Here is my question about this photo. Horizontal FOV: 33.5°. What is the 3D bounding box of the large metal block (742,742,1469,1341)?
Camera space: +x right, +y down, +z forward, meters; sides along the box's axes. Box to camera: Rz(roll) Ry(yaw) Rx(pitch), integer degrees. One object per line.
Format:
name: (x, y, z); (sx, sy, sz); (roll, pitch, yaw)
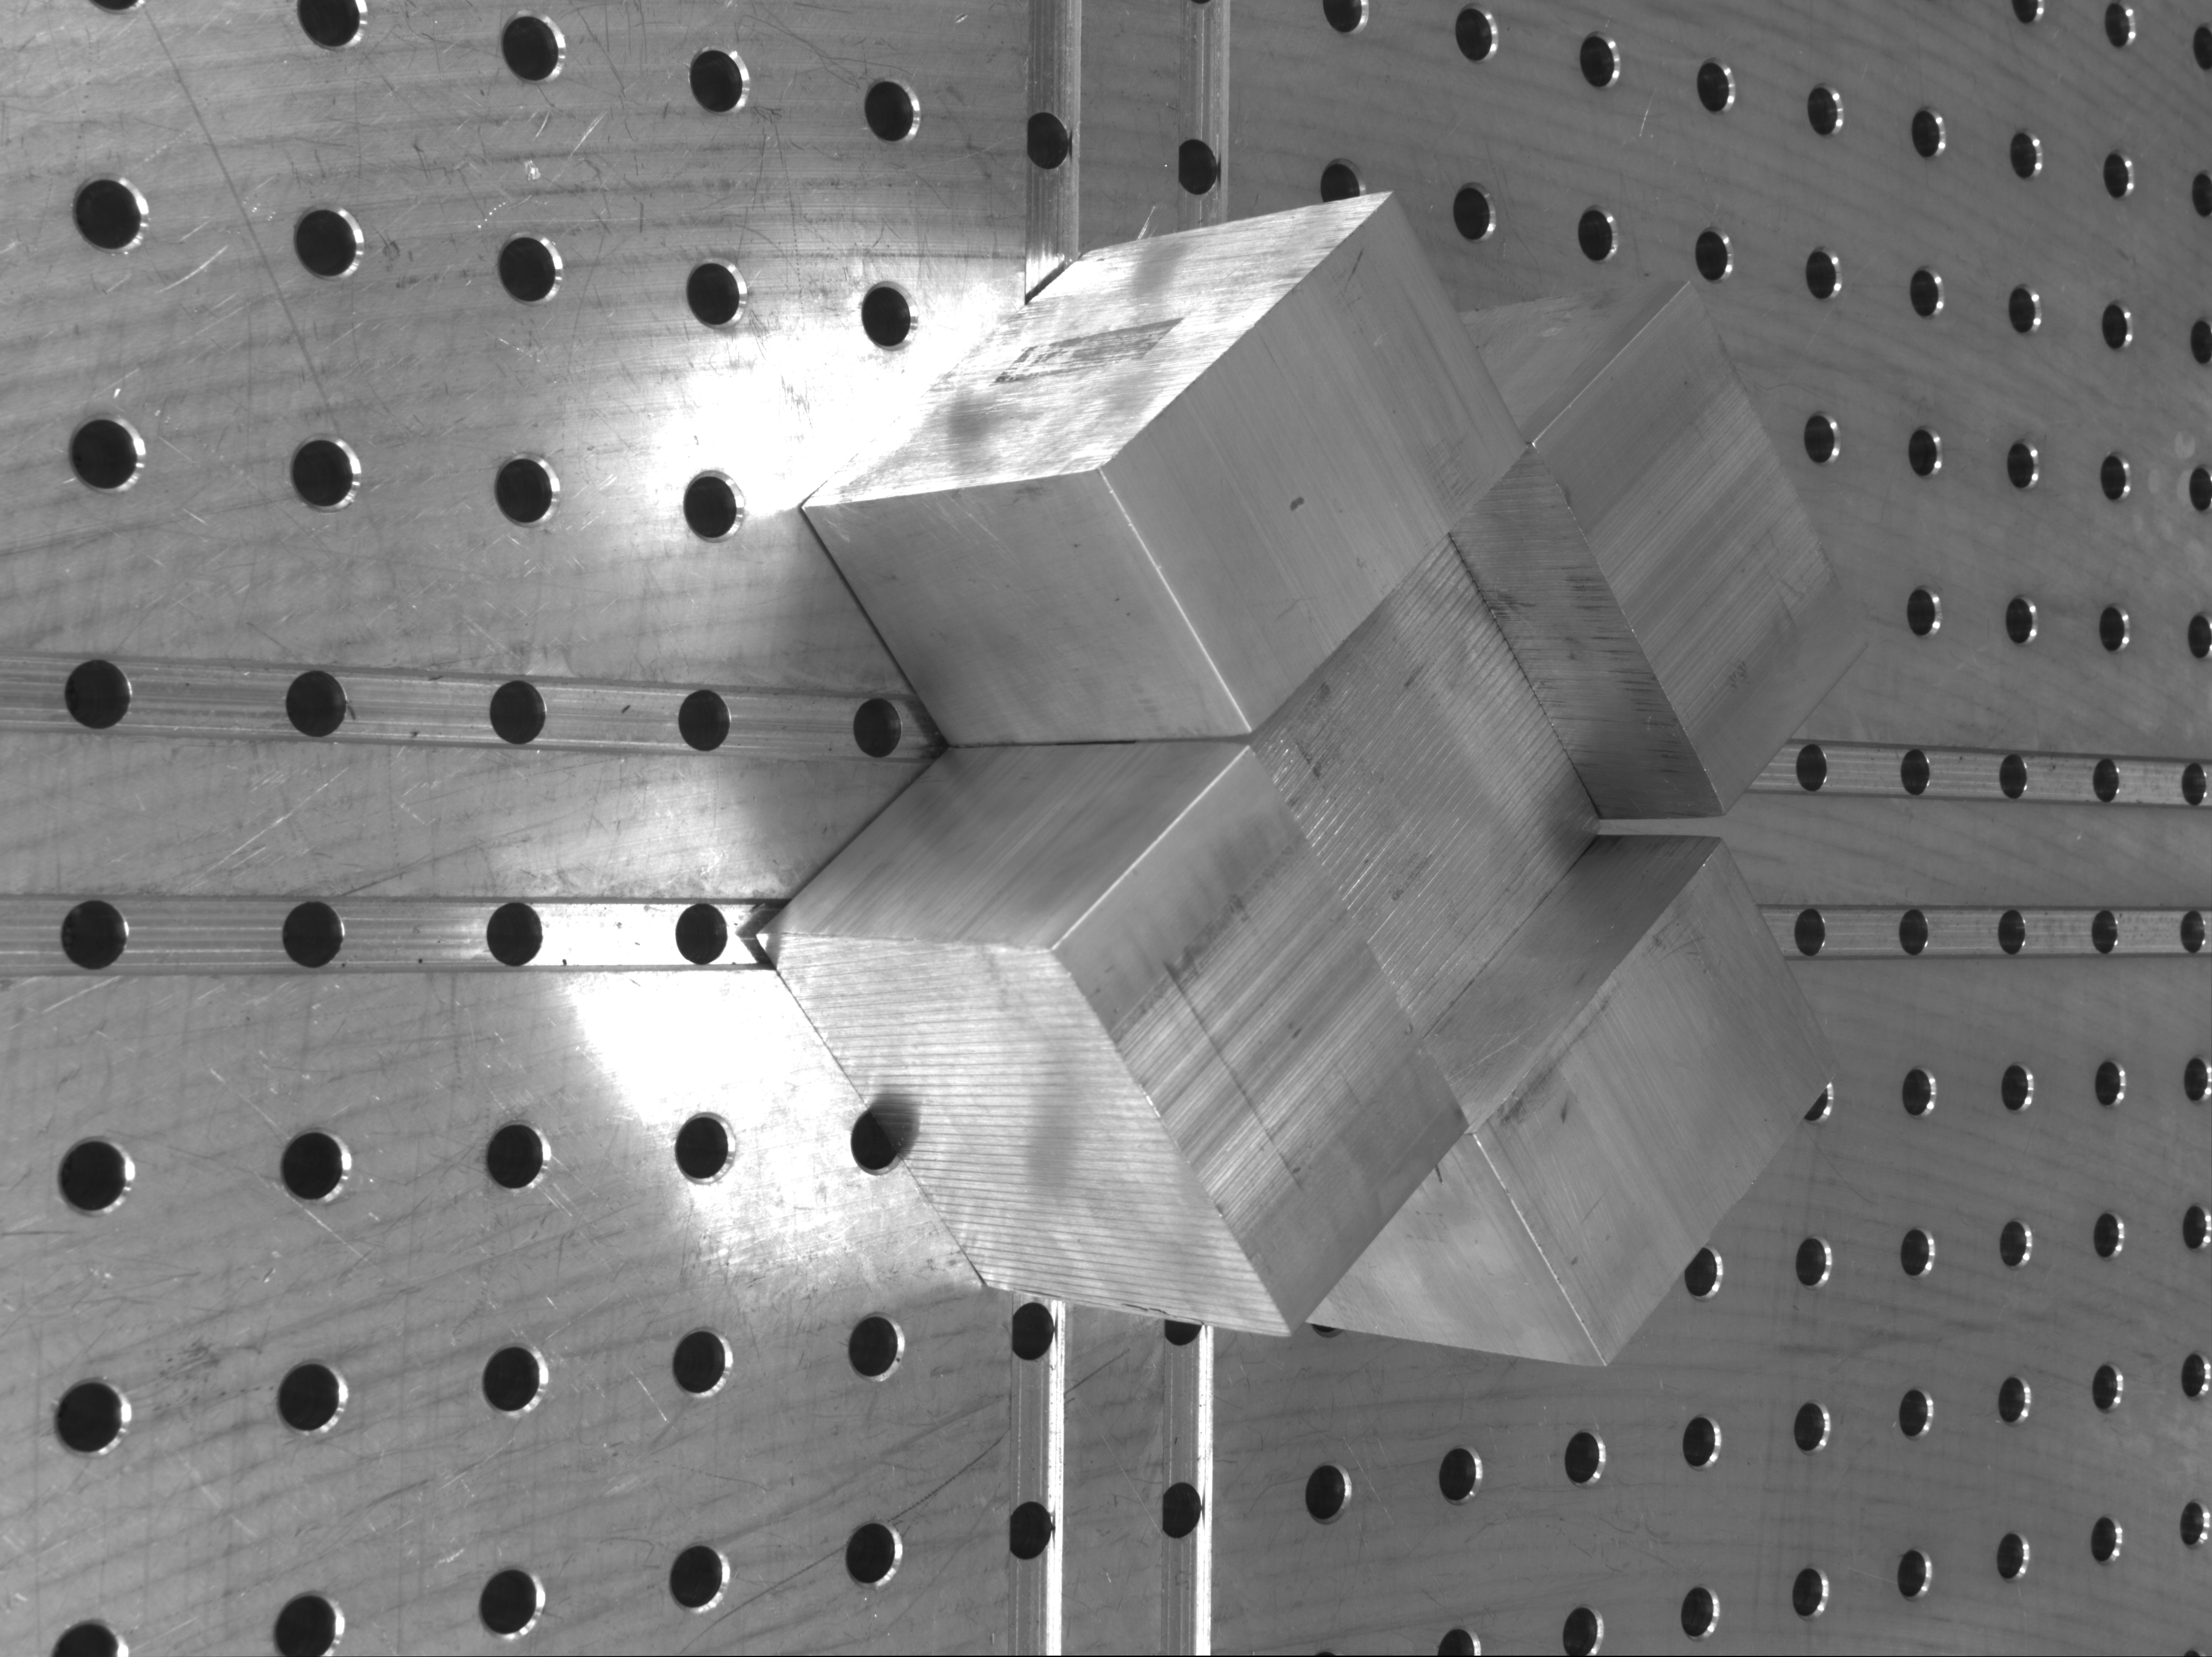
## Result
large metal block: (0.000, 0.033, 0.603); (0.050, 0.080, 0.080); (-46, 118, -30)

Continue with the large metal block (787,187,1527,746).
large metal block: (0.008, -0.059, 0.611); (0.080, 0.080, 0.050); (-46, 117, -30)

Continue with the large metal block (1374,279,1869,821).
large metal block: (0.079, -0.048, 0.669); (0.050, 0.080, 0.080); (-46, 118, -30)

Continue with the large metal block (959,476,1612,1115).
large metal block: (0.031, -0.007, 0.648); (0.080, 0.050, 0.080); (-45, 115, -28)

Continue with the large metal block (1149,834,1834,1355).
large metal block: (0.069, 0.045, 0.663); (0.080, 0.080, 0.050); (-44, 116, -31)
